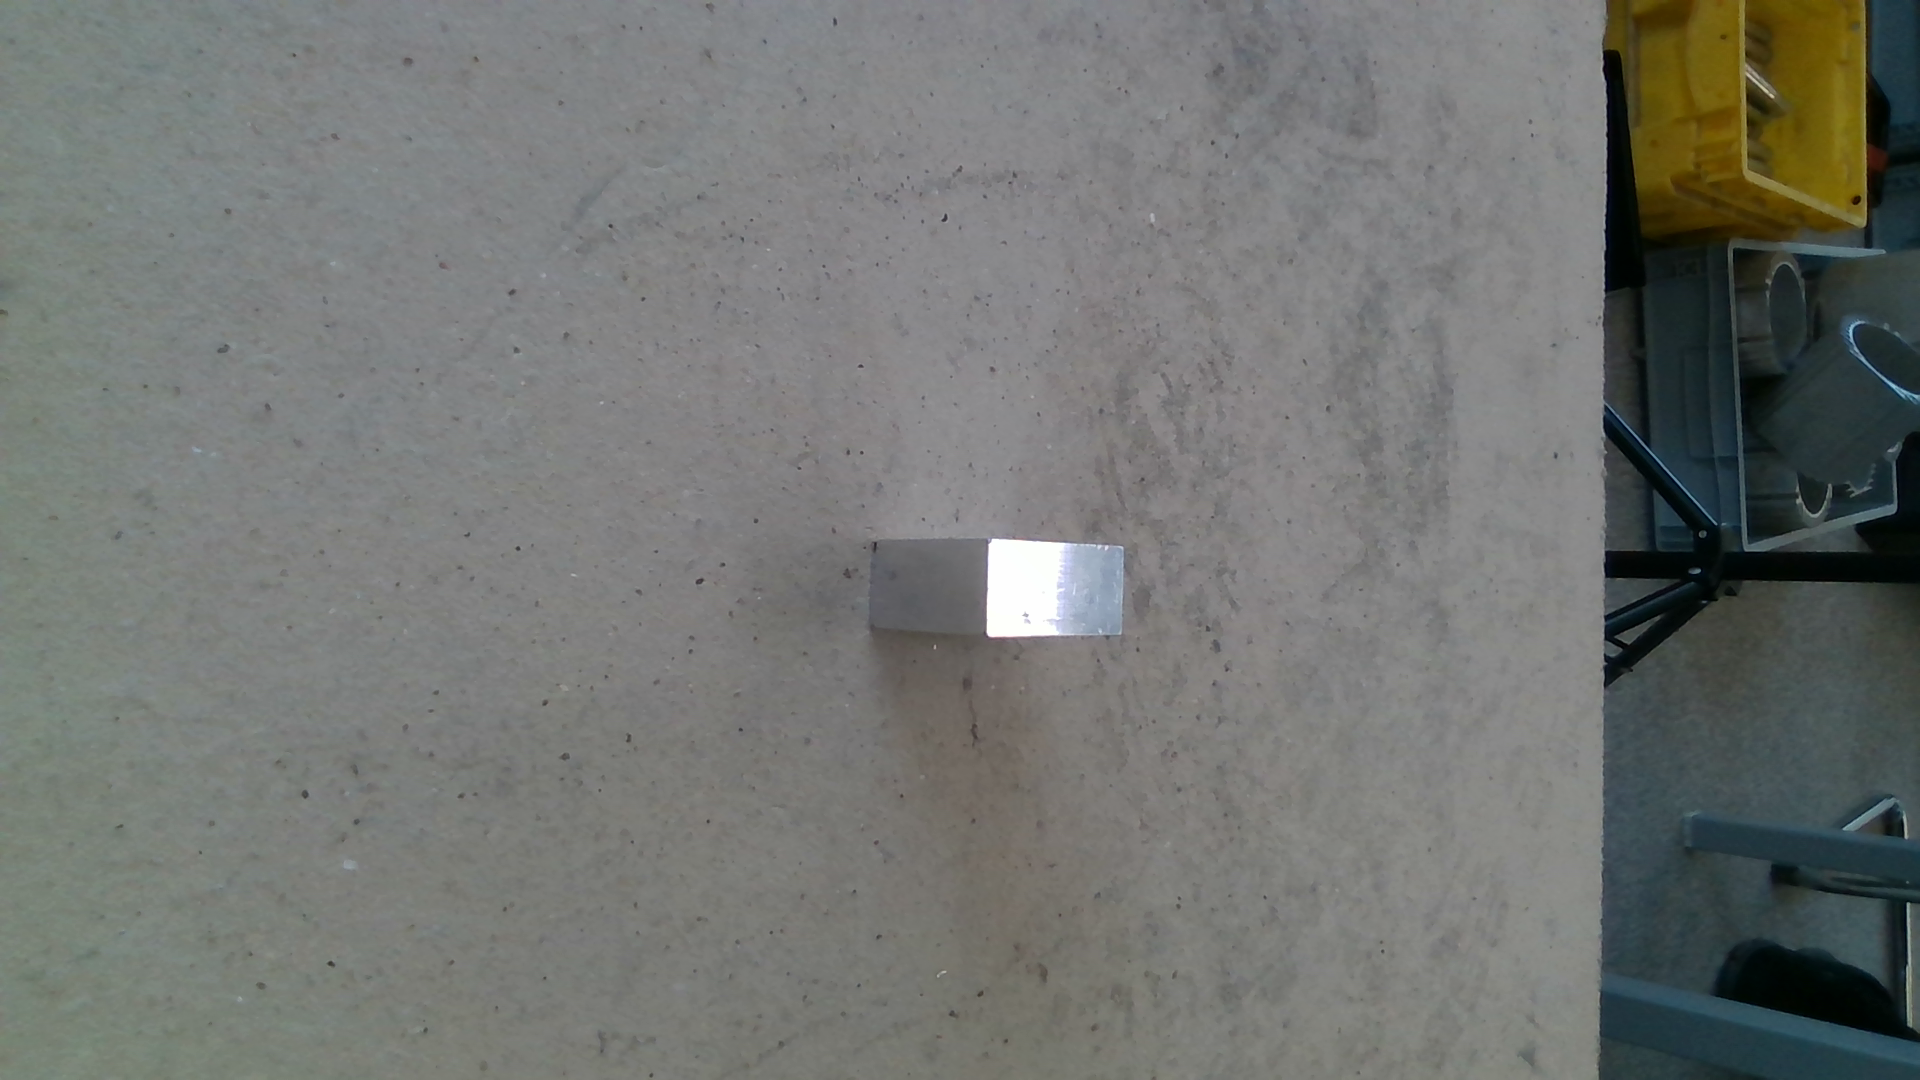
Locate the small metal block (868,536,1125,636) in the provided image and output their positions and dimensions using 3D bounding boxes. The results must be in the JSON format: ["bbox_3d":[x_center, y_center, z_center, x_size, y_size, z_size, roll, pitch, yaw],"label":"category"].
[{"bbox_3d":[0.010,0.012,0.383,0.050,0.050,0.025,3,89,-40],"label":"small metal block"}]
